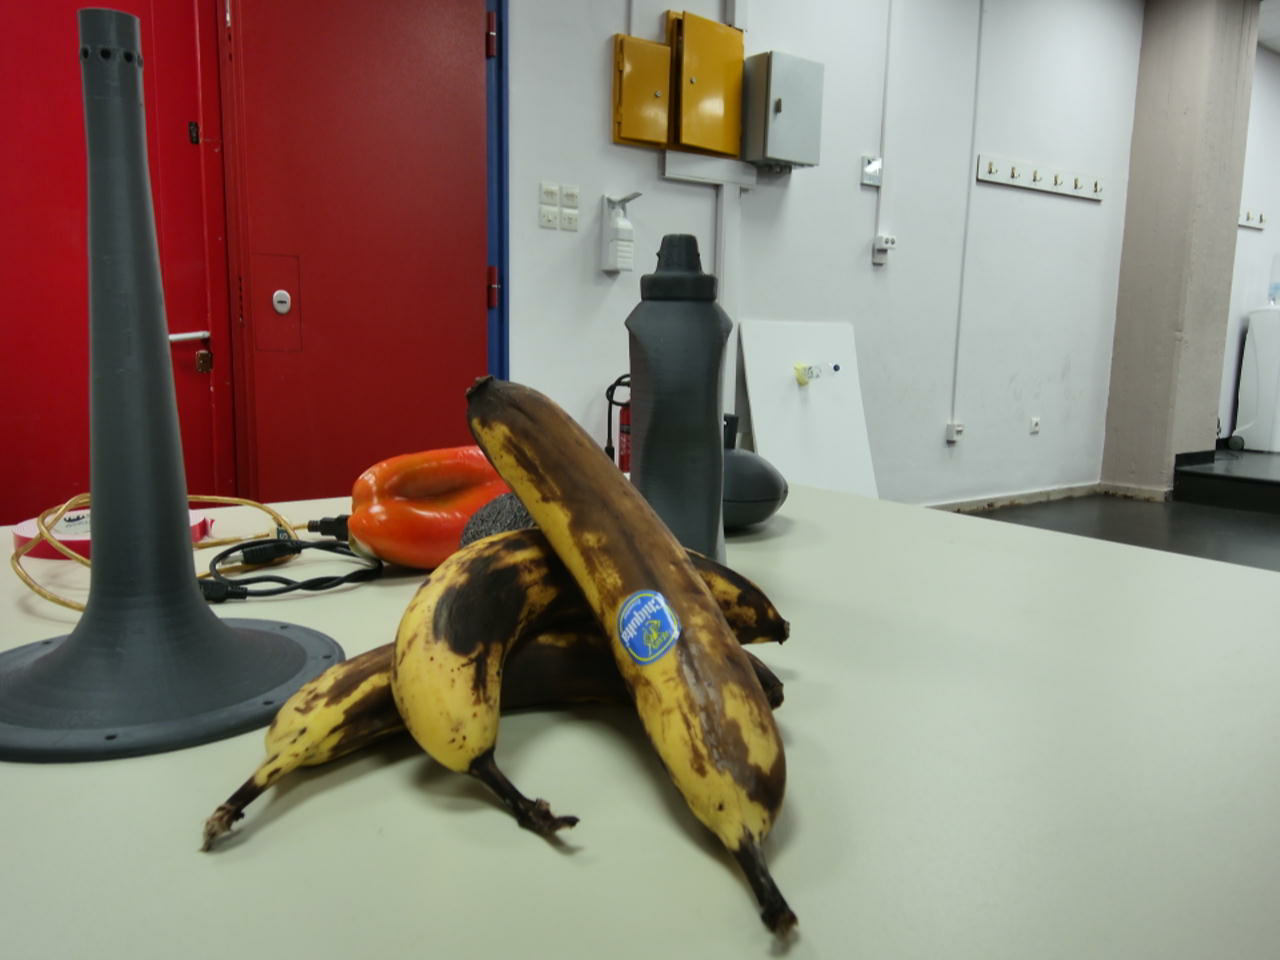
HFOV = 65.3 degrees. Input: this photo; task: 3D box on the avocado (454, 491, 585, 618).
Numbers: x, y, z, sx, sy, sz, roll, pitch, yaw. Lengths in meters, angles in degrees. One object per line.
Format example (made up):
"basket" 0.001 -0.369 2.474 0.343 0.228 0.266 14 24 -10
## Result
"avocado" -0.065 0.038 0.519 0.062 0.062 0.092 4 8 29
